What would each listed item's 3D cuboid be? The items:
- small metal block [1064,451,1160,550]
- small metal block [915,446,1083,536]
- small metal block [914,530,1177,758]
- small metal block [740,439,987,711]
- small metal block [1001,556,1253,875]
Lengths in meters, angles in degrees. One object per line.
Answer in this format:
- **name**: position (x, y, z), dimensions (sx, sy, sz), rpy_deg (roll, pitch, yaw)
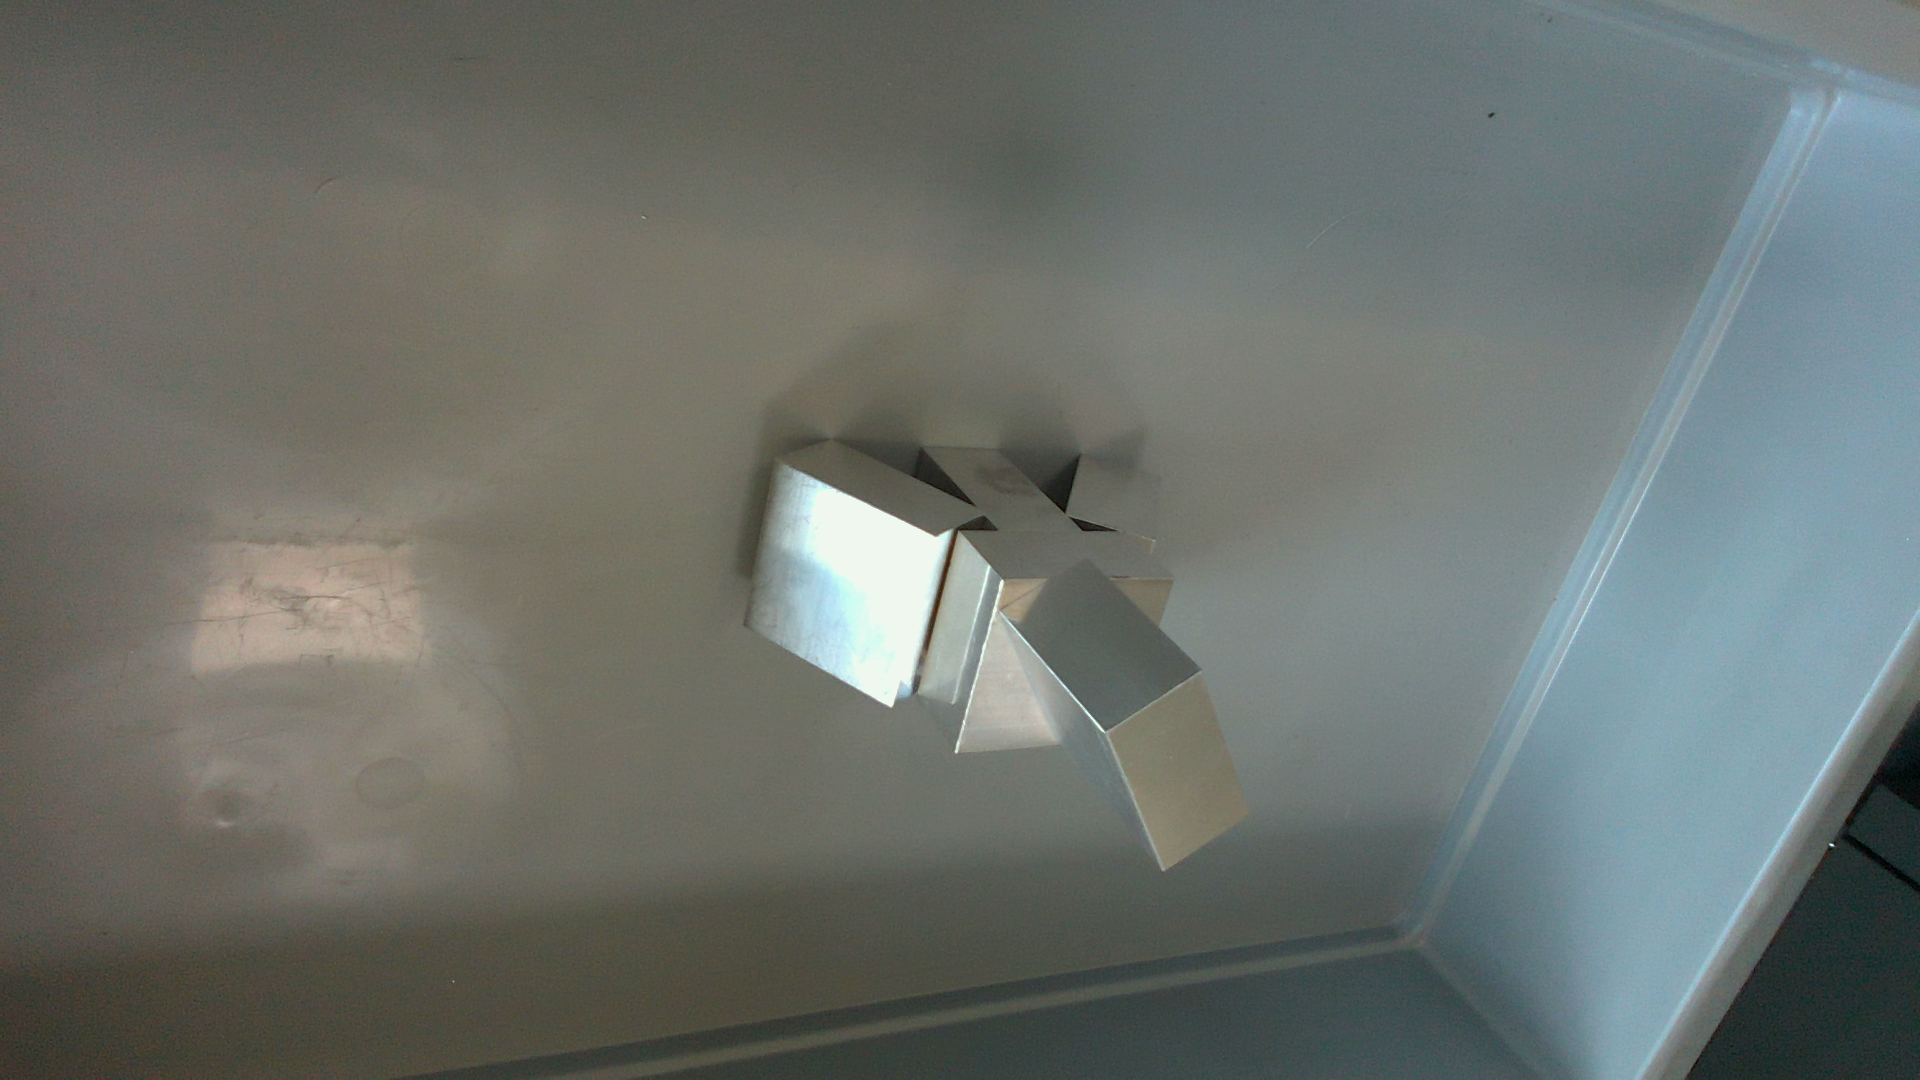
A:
- **small metal block**: position (0.037, 0.009, 0.394), dimensions (0.025, 0.050, 0.050), rpy_deg (16, 115, 2)
- **small metal block**: position (0.004, 0.008, 0.378), dimensions (0.025, 0.050, 0.050), rpy_deg (1, 118, -29)
- **small metal block**: position (0.021, 0.026, 0.349), dimensions (0.050, 0.025, 0.050), rpy_deg (1, 118, -29)
- **small metal block**: position (-0.026, 0.008, 0.359), dimensions (0.025, 0.050, 0.050), rpy_deg (-27, 137, -56)
- **small metal block**: position (0.039, 0.040, 0.319), dimensions (0.025, 0.050, 0.050), rpy_deg (-30, 128, -8)
